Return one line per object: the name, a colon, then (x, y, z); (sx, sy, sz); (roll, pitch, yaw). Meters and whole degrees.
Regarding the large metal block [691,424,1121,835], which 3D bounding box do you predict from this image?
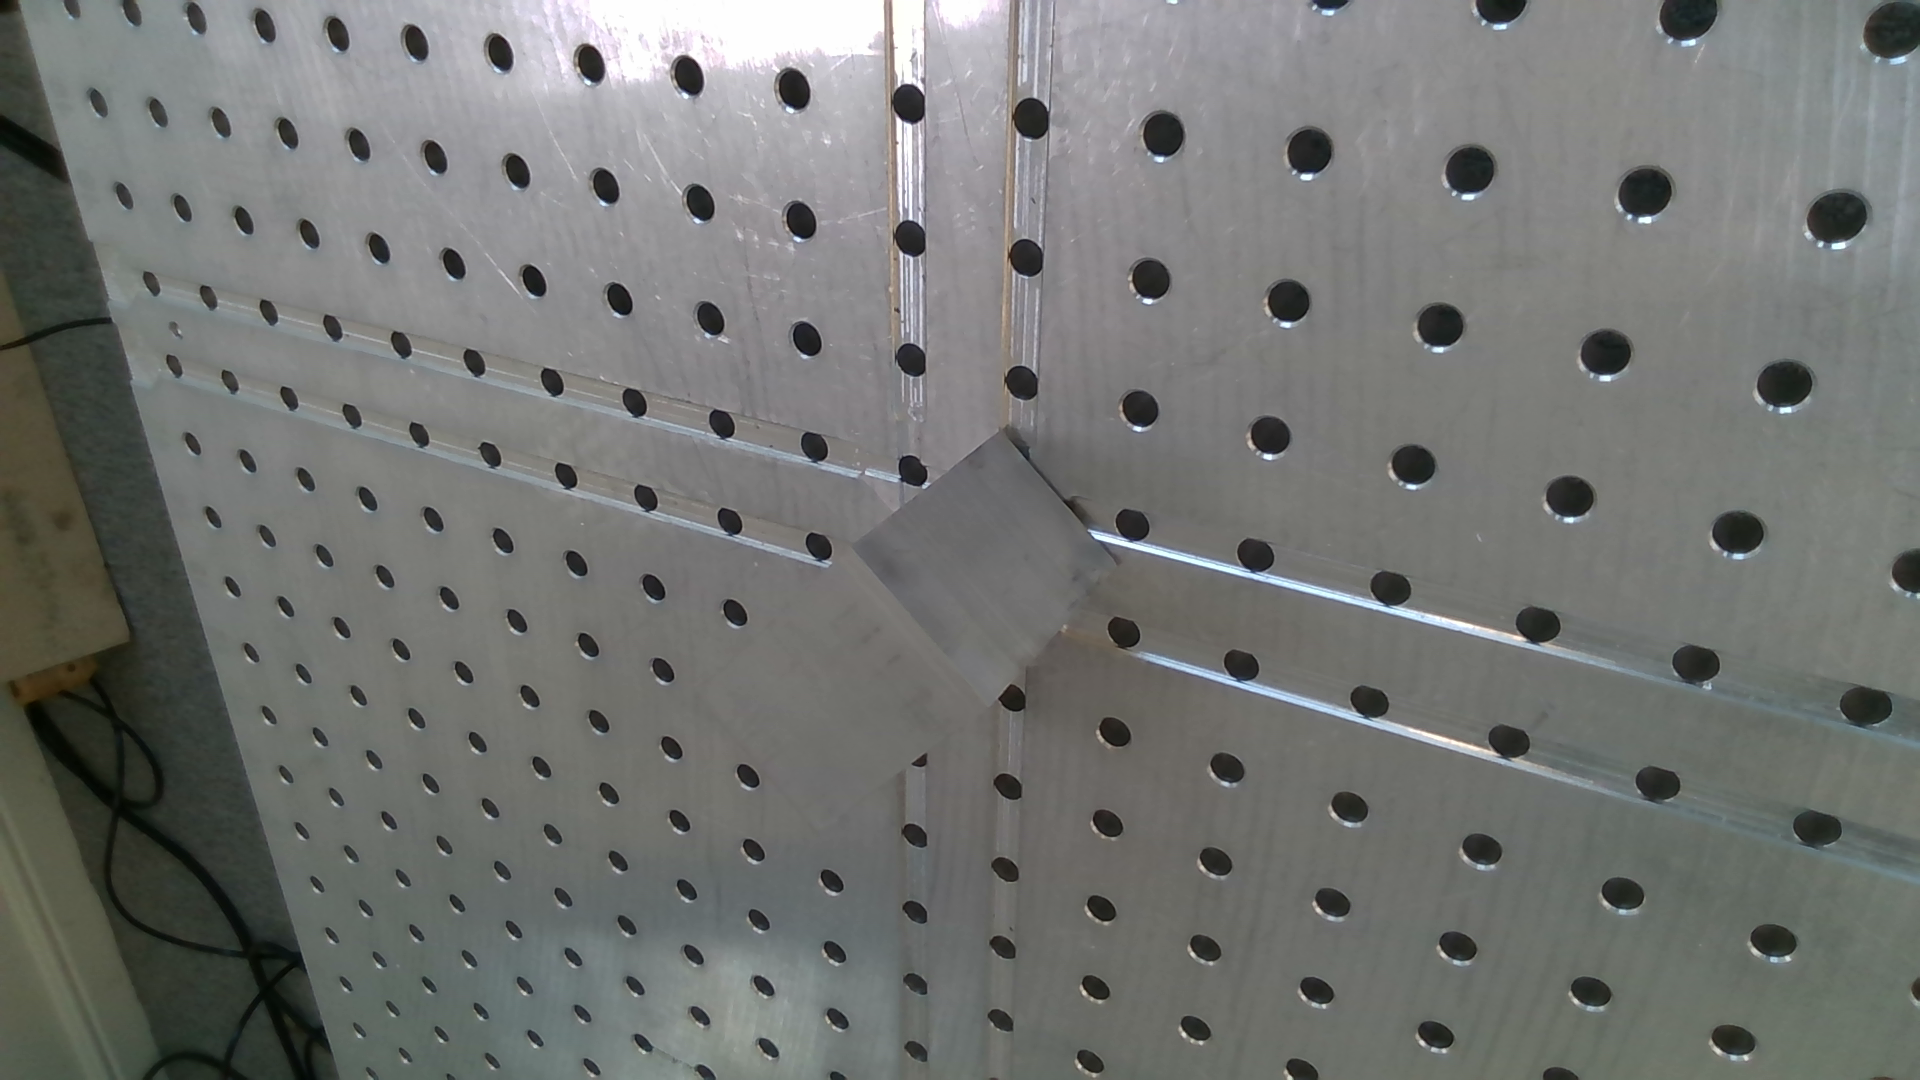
large metal block: (-0.014, 0.024, 0.377); (0.050, 0.080, 0.080); (49, 130, 0)
